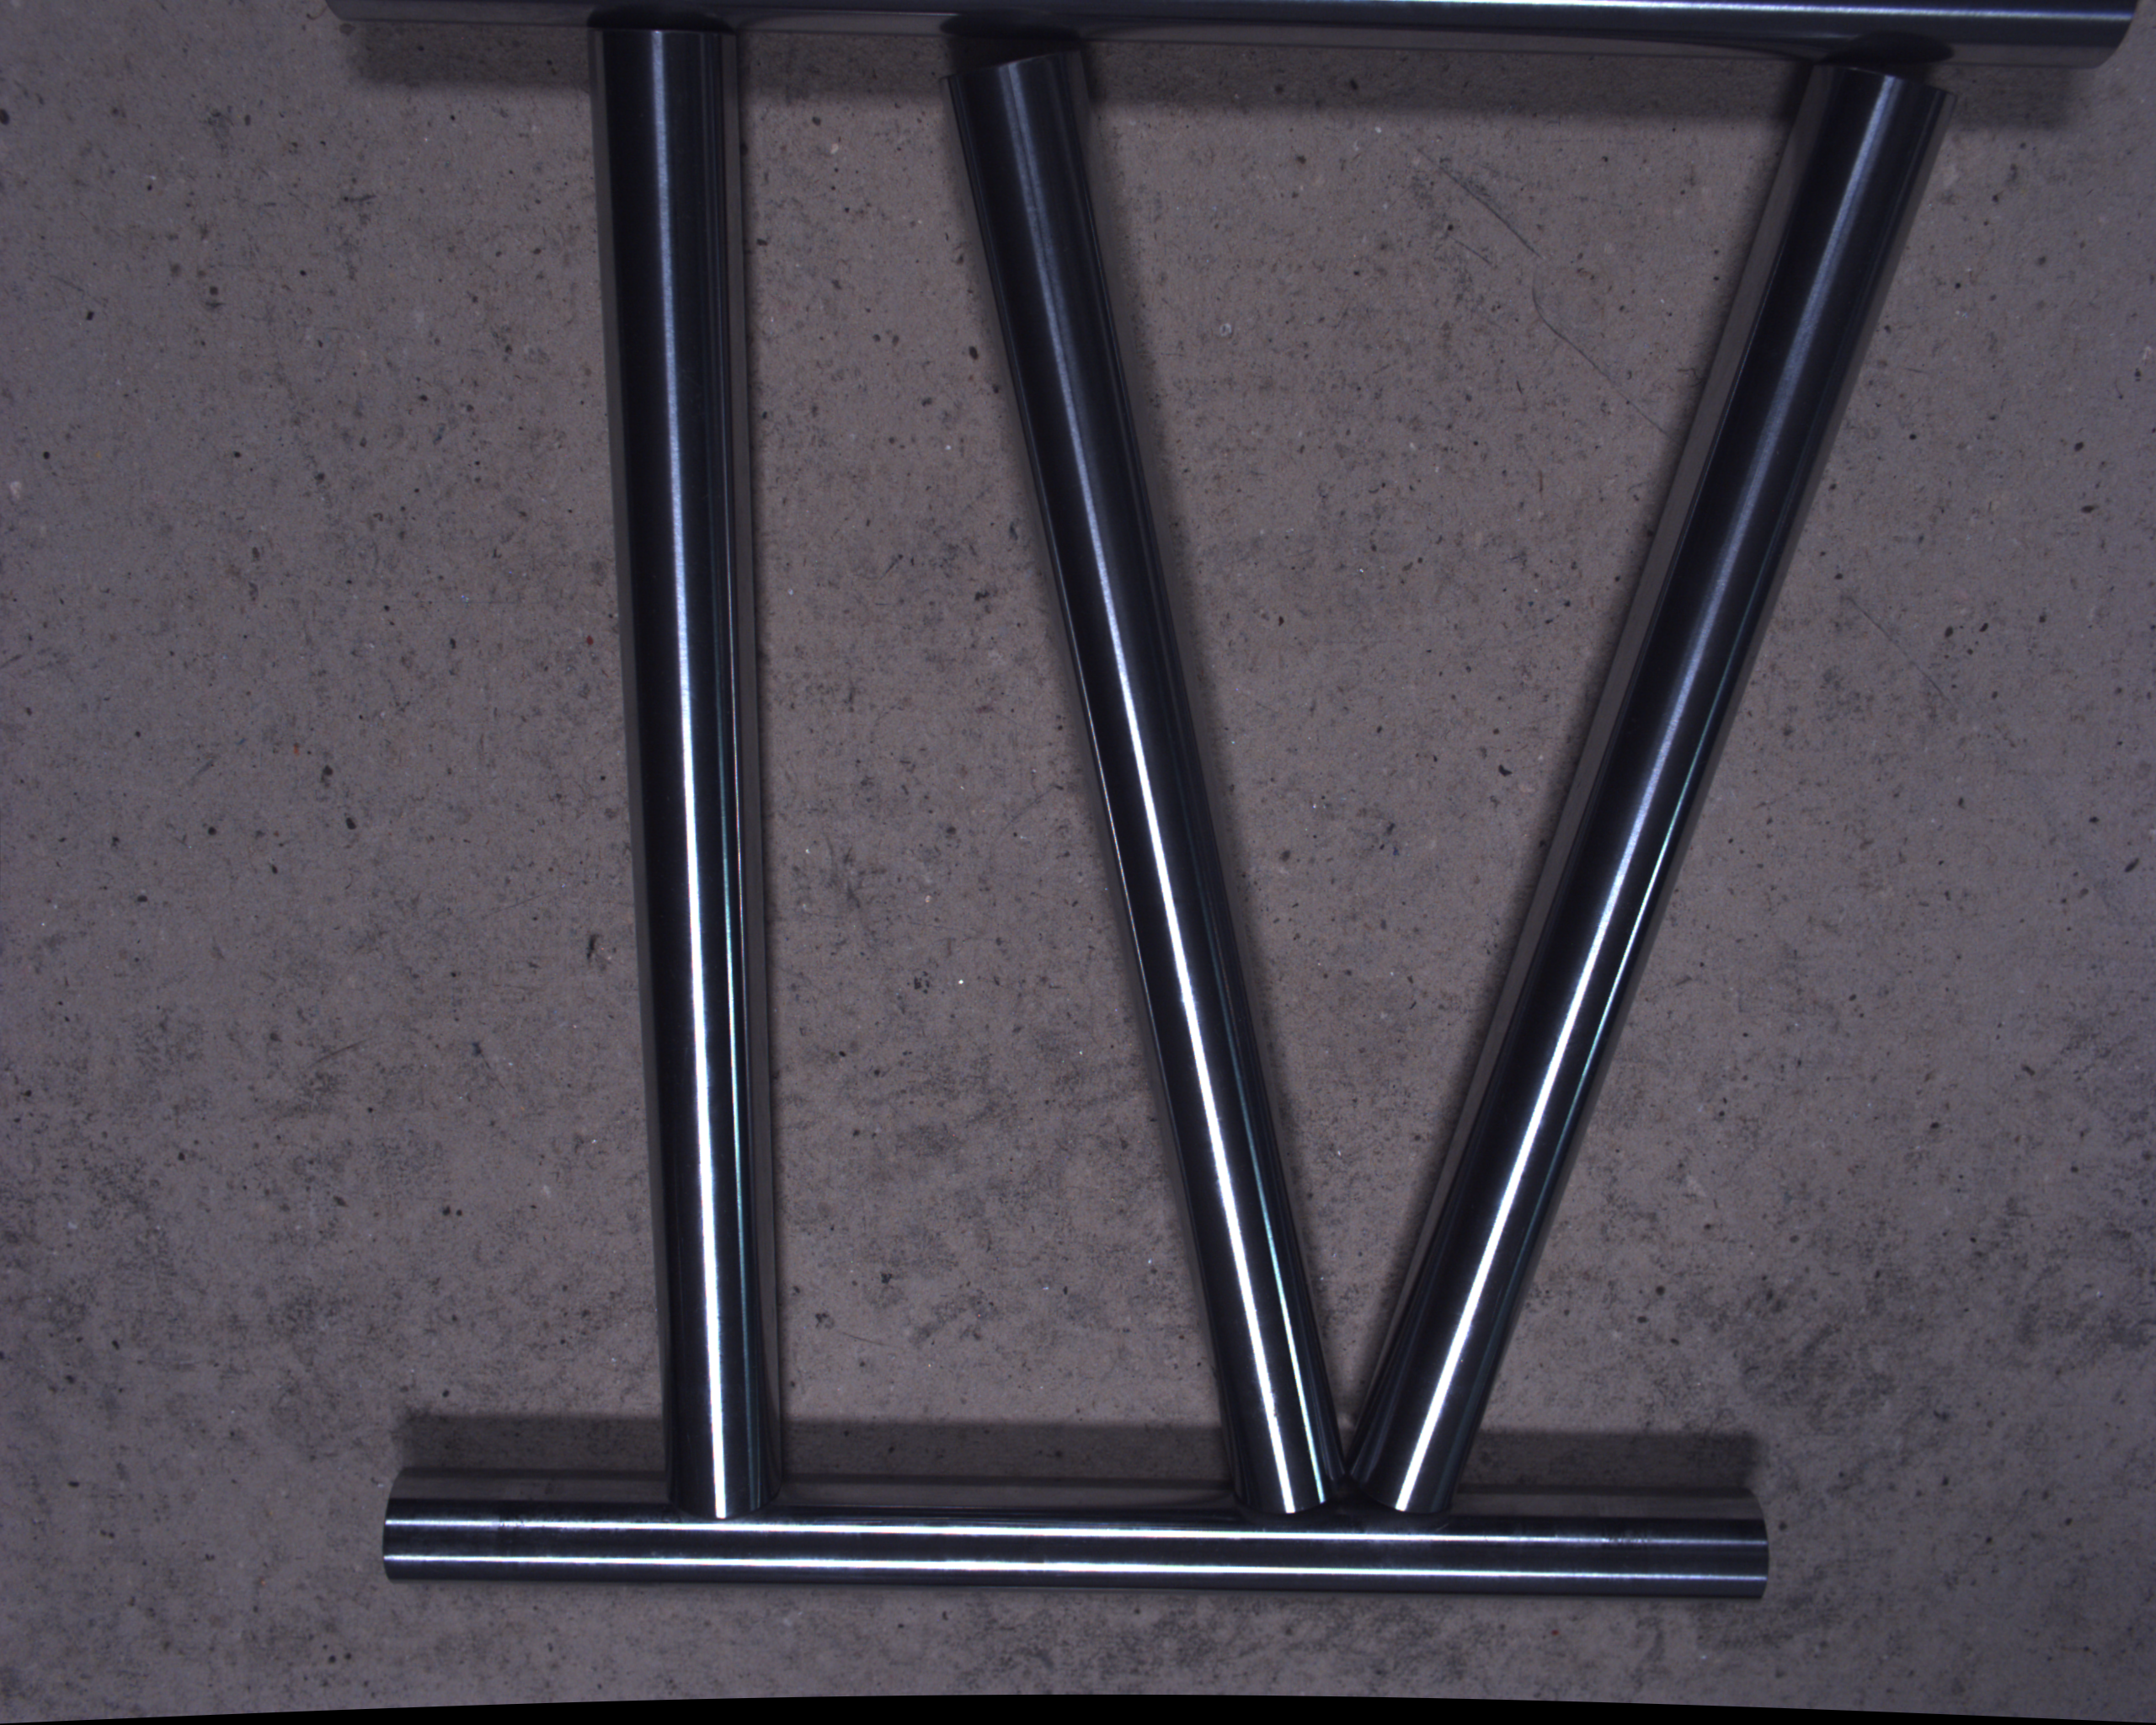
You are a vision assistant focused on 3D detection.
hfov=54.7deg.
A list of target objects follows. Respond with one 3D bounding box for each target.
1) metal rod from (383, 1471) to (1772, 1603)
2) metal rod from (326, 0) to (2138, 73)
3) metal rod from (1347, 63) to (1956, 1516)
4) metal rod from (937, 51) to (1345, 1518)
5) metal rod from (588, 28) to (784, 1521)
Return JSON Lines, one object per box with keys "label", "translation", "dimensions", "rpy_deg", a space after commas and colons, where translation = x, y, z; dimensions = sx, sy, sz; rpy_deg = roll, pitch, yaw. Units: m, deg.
{"label": "metal rod", "translation": [0.001, 0.151, 0.466], "dimensions": [0.302, 0.025, 0.025], "rpy_deg": [1, 110, -1]}
{"label": "metal rod", "translation": [0.026, -0.152, 0.355], "dimensions": [0.302, 0.025, 0.025], "rpy_deg": [1, 110, -1]}
{"label": "metal rod", "translation": [0.105, 0.000, 0.412], "dimensions": [0.025, 0.025, 0.298], "rpy_deg": [12, 109, -5]}
{"label": "metal rod", "translation": [0.017, 0.000, 0.410], "dimensions": [0.025, 0.025, 0.298], "rpy_deg": [-11, 110, 3]}
{"label": "metal rod", "translation": [-0.074, -0.003, 0.408], "dimensions": [0.025, 0.025, 0.298], "rpy_deg": [1, 110, -1]}
